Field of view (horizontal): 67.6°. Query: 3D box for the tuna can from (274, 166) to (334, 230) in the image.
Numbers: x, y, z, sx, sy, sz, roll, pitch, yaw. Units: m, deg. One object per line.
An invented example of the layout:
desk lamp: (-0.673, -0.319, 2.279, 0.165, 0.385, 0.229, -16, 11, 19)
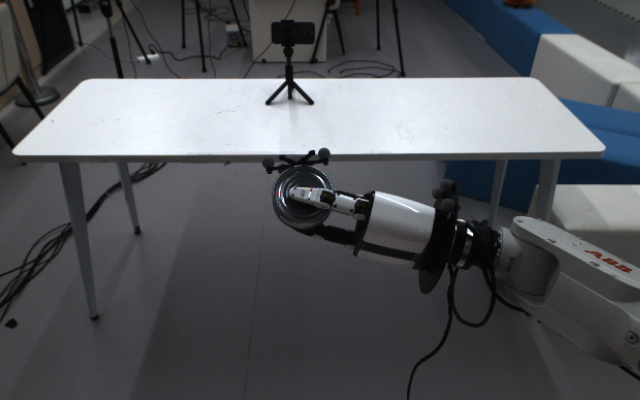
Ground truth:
tuna can: (-0.019, 0.001, 0.663, 0.085, 0.034, 0.085, 0, 72, -1)
